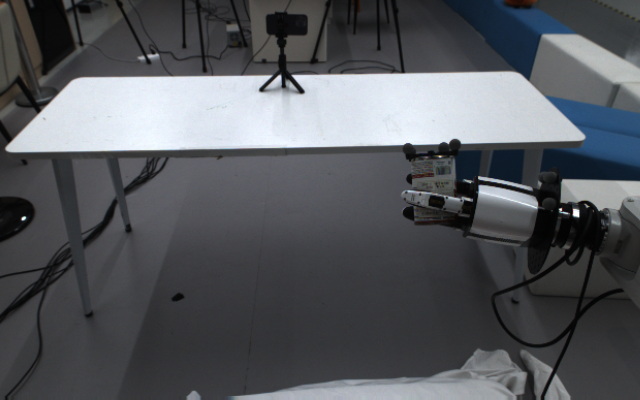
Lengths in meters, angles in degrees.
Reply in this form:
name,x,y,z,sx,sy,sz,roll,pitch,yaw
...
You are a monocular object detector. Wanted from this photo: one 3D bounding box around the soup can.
name,x,y,z,sx,sy,sz,roll,pitch,yaw
soup can,0.176,-0.014,0.739,0.067,0.101,0.067,-3,-1,0
